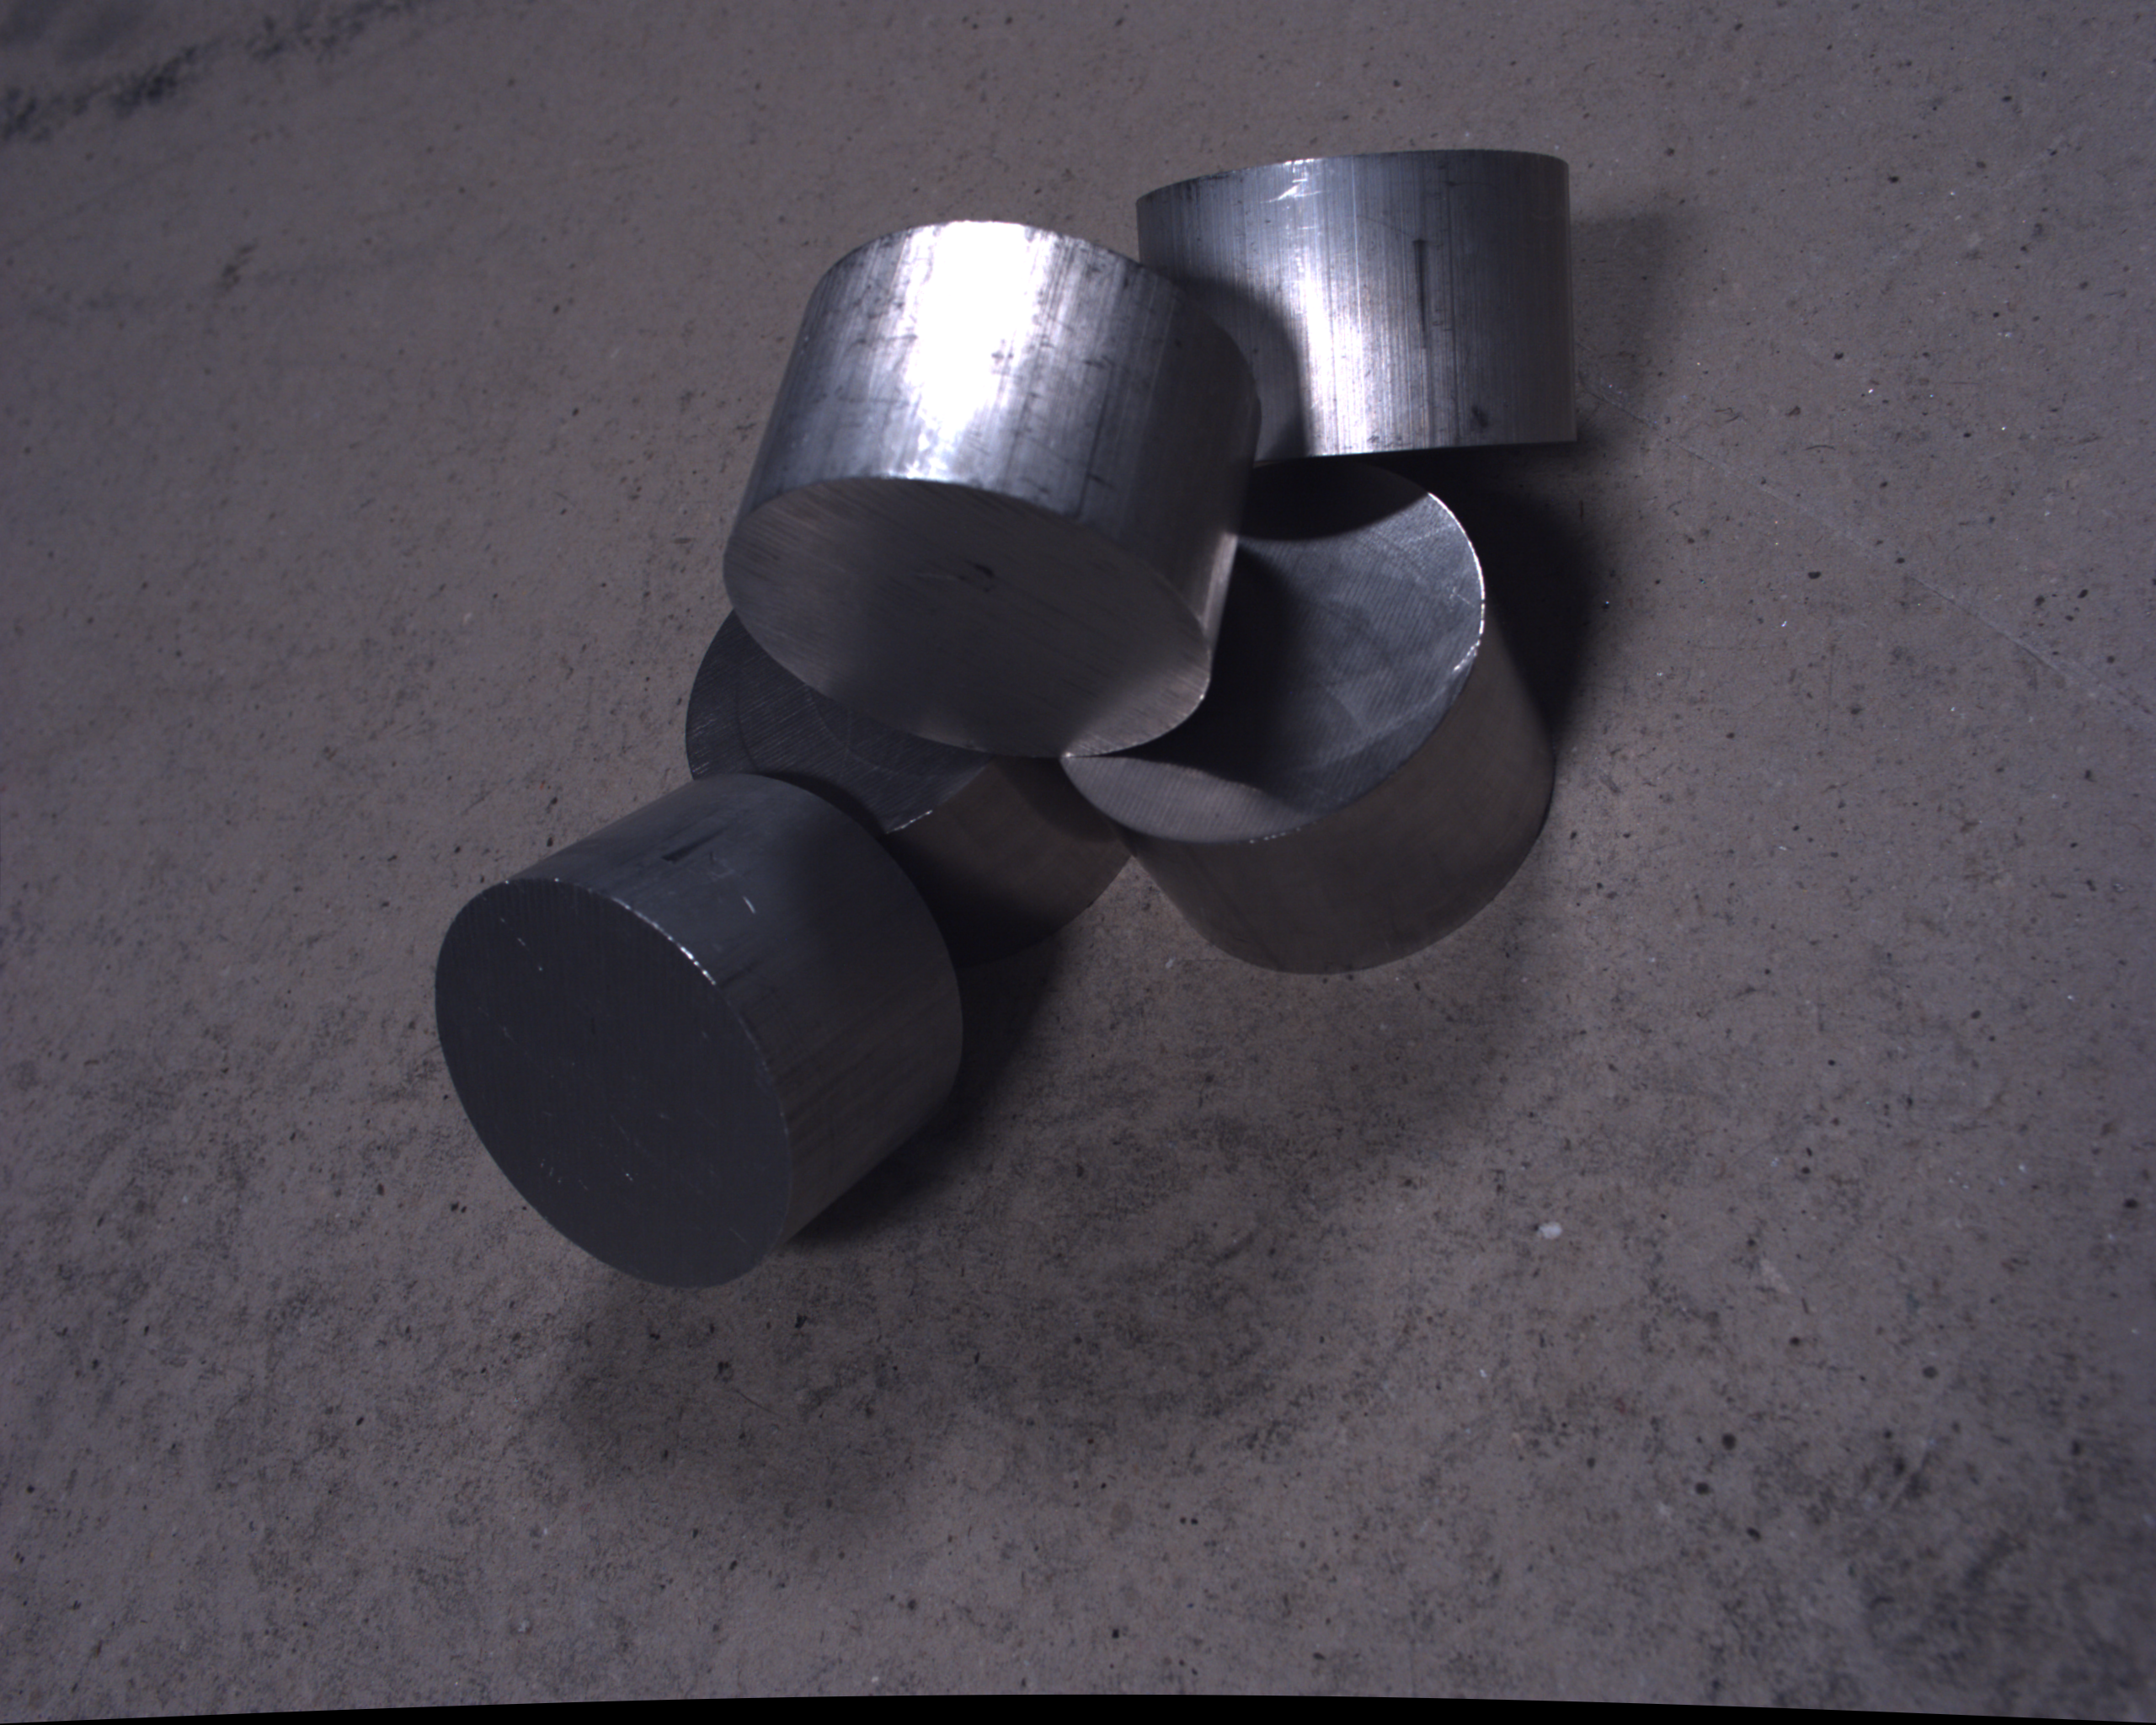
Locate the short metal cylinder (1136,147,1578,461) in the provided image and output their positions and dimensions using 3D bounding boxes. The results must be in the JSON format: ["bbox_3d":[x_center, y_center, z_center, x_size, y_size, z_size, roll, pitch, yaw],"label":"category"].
[{"bbox_3d":[0.053,-0.102,0.395,0.080,0.080,0.050,1,100,28],"label":"short metal cylinder"}]

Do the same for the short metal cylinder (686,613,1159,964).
[{"bbox_3d":[-0.030,-0.026,0.419,0.080,0.050,0.080,-13,56,20],"label":"short metal cylinder"}]

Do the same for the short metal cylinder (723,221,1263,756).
[{"bbox_3d":[-0.013,-0.059,0.348,0.080,0.080,0.050,-1,61,27],"label":"short metal cylinder"}]

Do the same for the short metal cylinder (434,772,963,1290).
[{"bbox_3d":[-0.068,0.030,0.378,0.080,0.079,0.050,8,27,31],"label":"short metal cylinder"}]

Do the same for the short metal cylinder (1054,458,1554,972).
[{"bbox_3d":[0.041,-0.027,0.382,0.080,0.050,0.080,-13,56,20],"label":"short metal cylinder"}]
